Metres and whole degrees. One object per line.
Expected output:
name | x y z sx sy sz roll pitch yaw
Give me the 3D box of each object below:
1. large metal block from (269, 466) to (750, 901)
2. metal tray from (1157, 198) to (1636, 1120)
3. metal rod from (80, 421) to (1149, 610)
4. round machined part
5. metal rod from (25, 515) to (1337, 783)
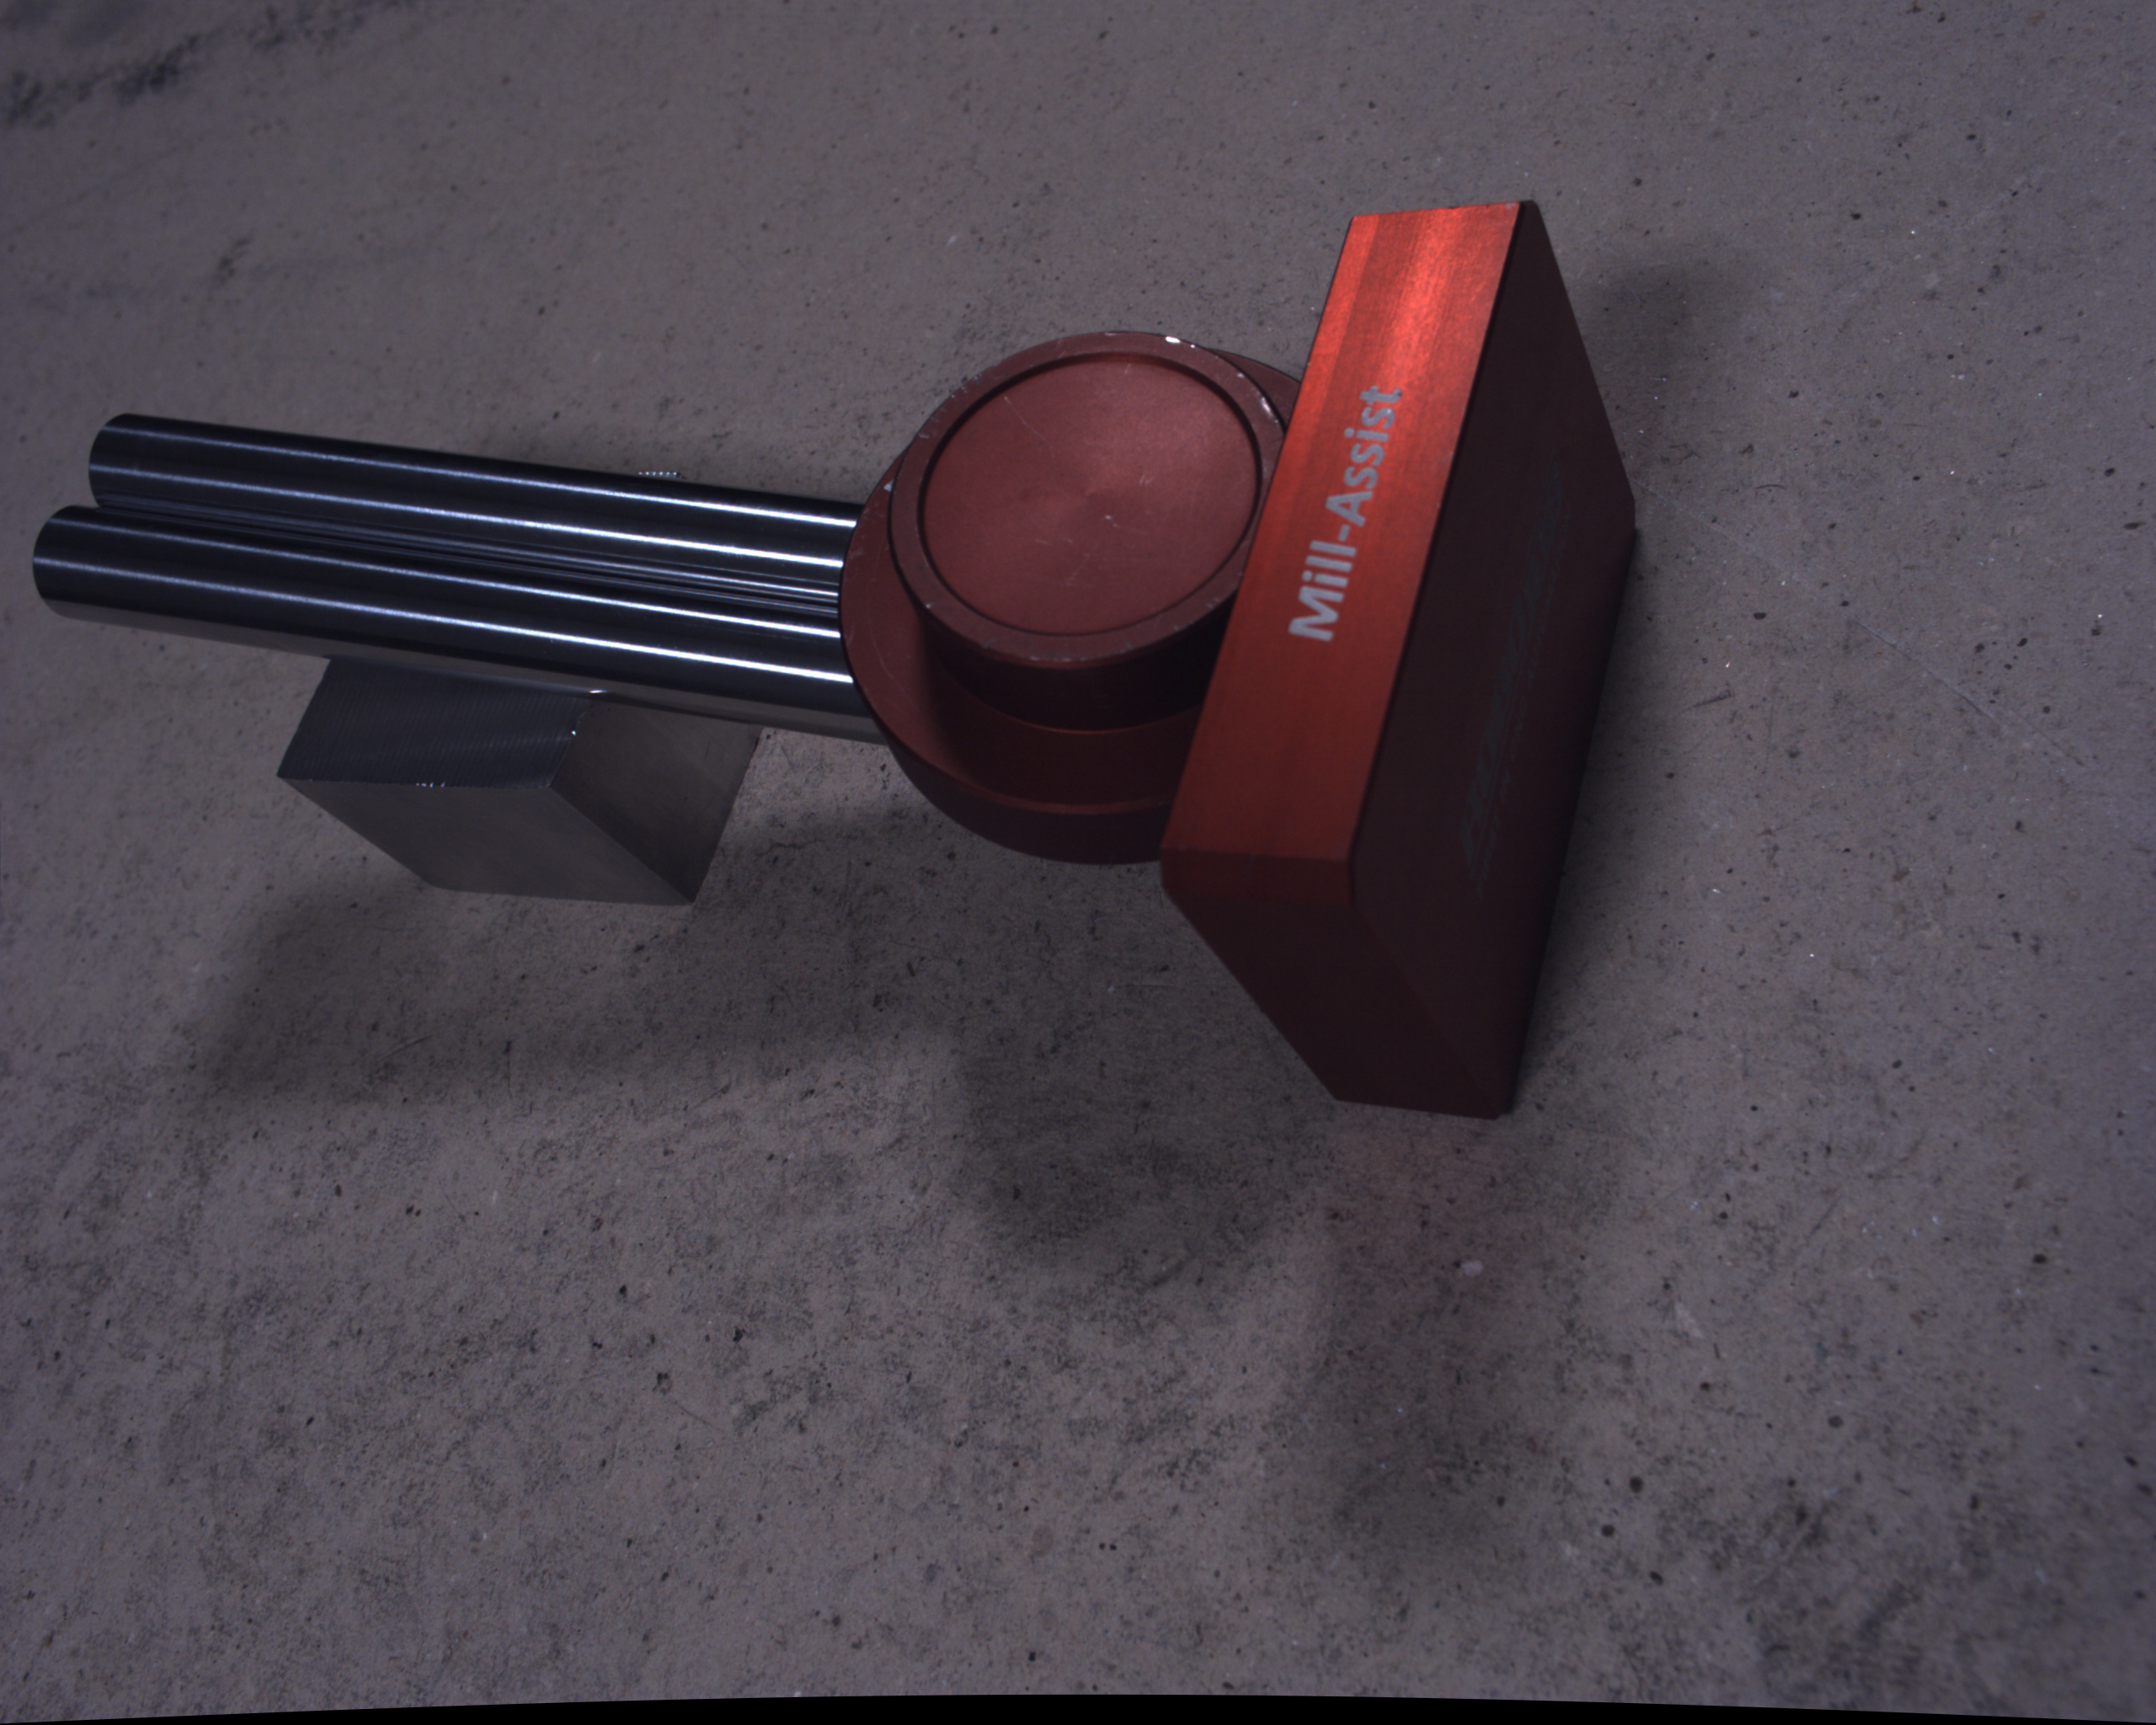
large metal block | -0.120 -0.040 0.470 0.080 0.050 0.080 4 63 29
metal tray | 0.059 -0.033 0.351 0.030 0.090 0.130 4 63 30
metal rod | -0.072 -0.065 0.424 0.301 0.025 0.025 9 65 17
round machined part | 0.005 -0.052 0.360 0.098 0.042 0.098 -6 63 13
metal rod | -0.080 -0.041 0.414 0.301 0.025 0.025 9 66 18
